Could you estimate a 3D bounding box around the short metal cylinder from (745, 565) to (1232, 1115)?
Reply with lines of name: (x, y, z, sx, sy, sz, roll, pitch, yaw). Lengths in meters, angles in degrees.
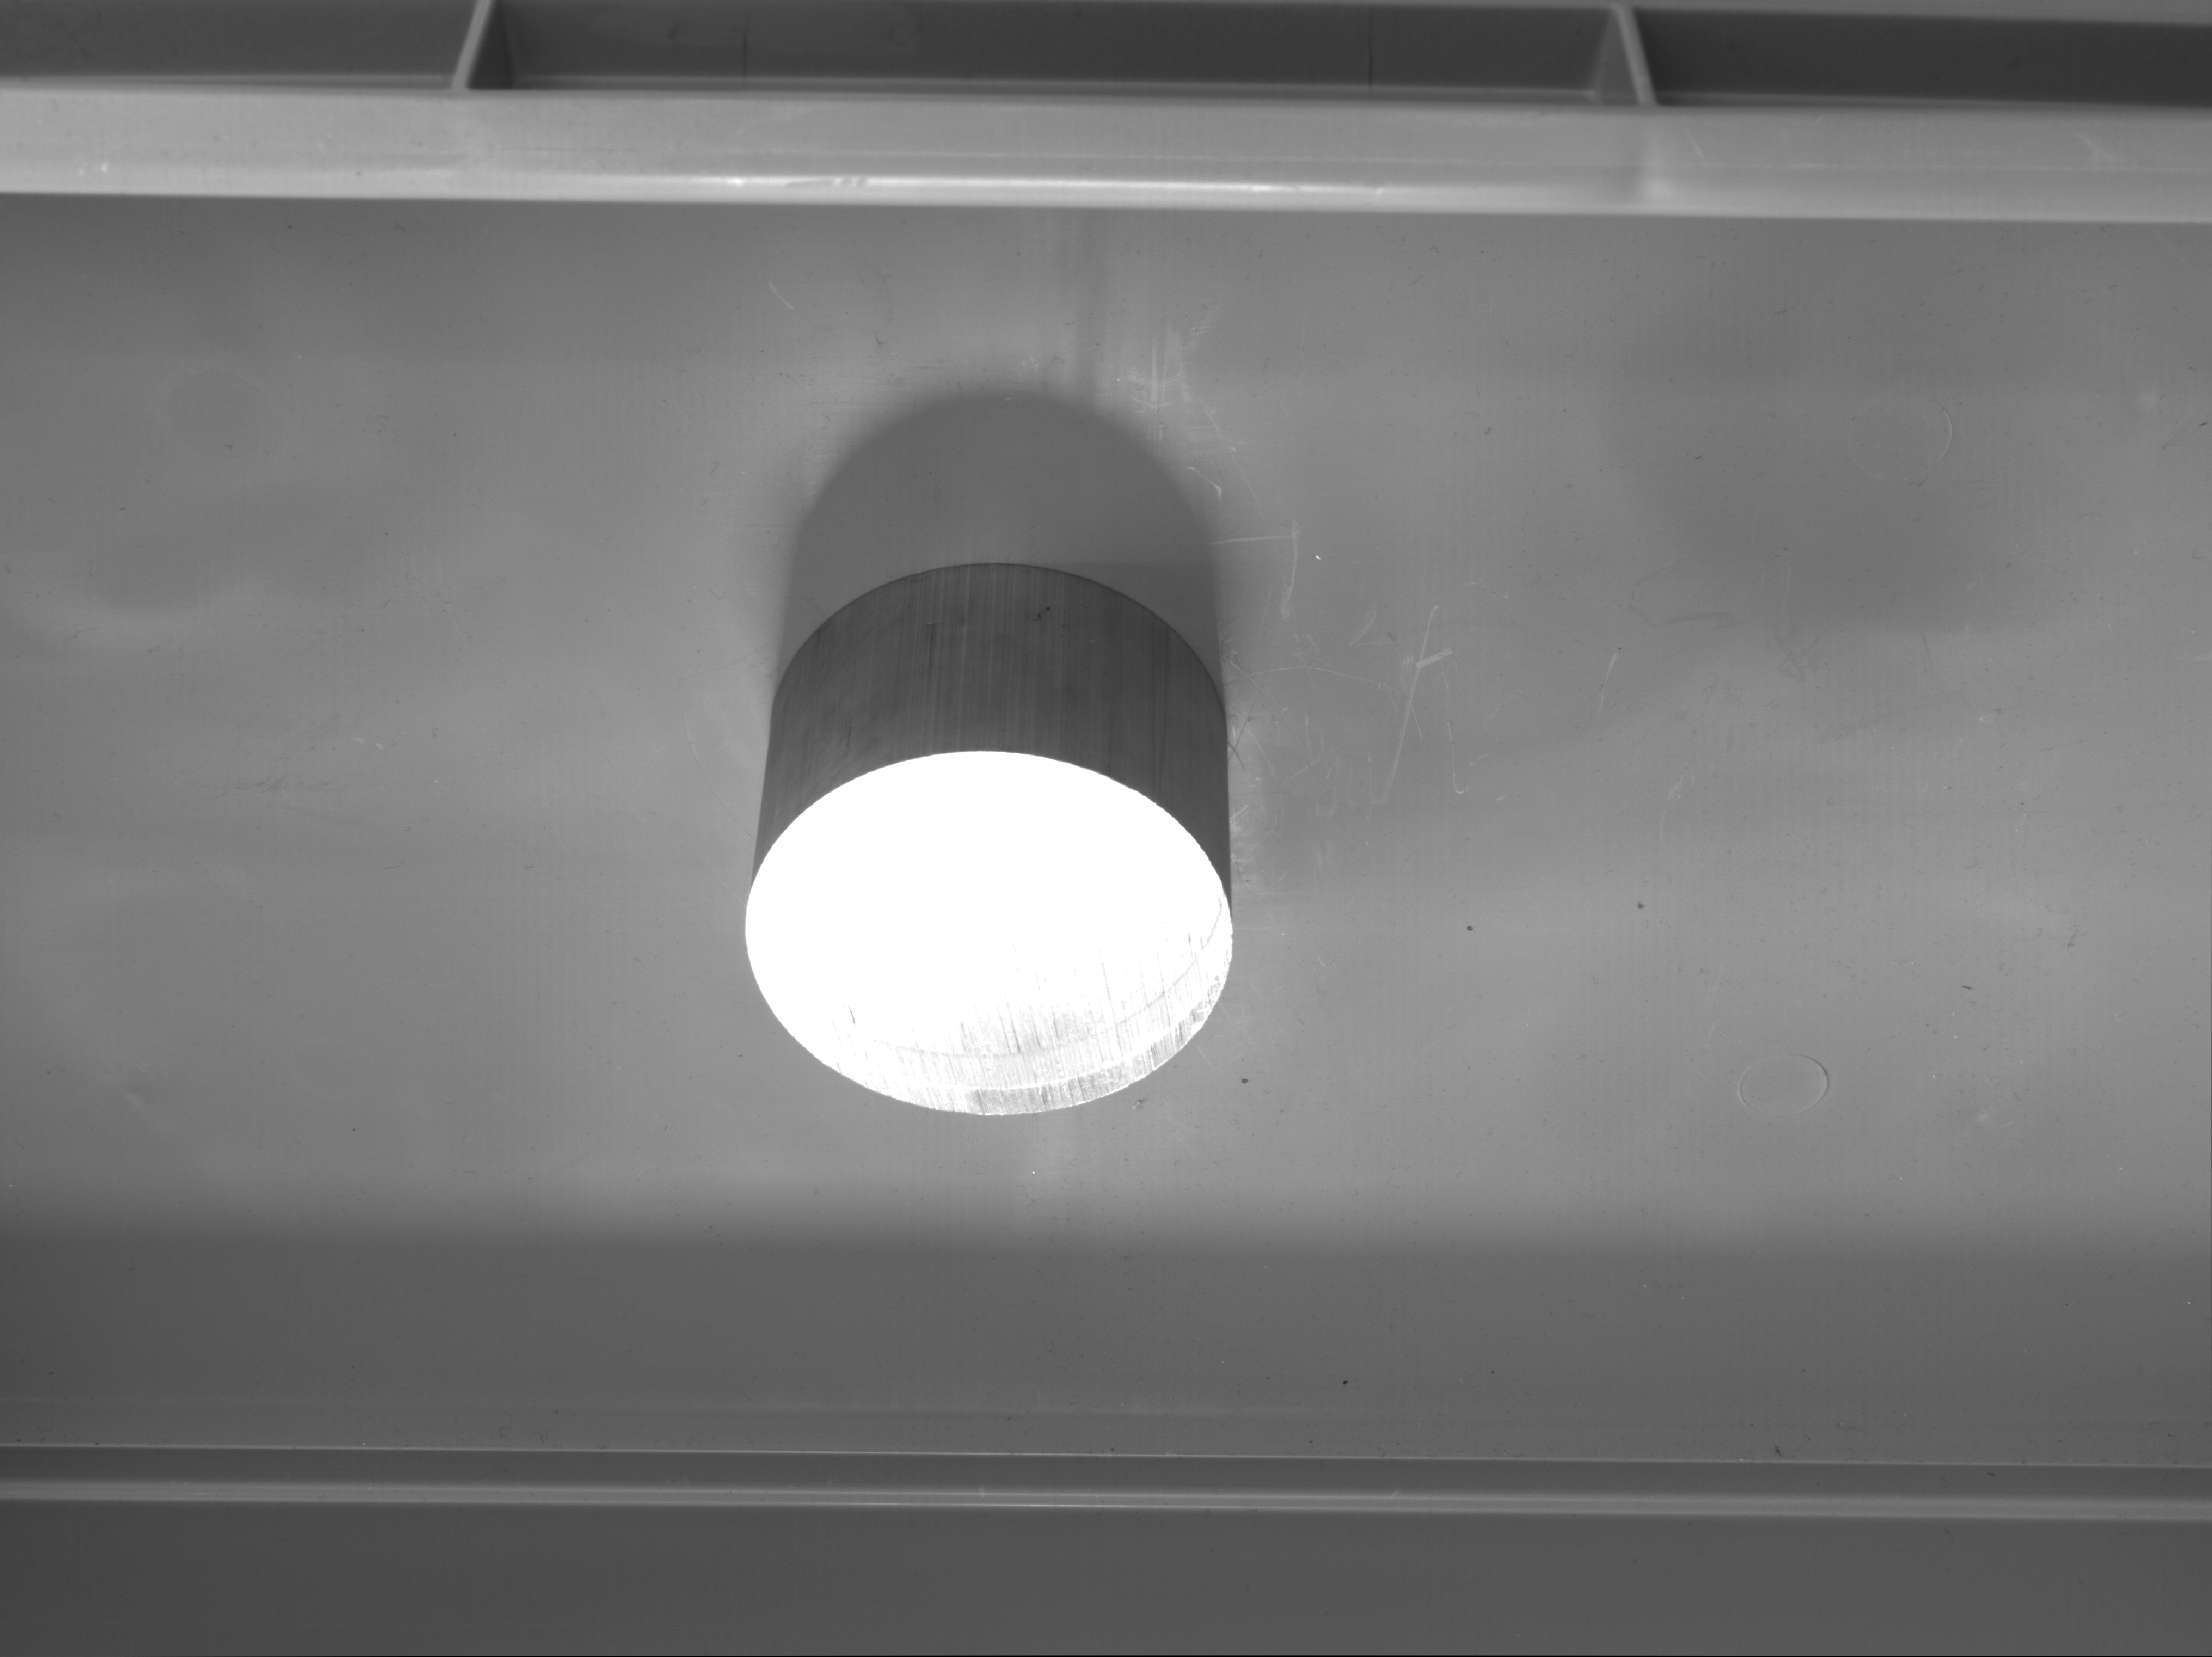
short metal cylinder: (-0.019, 0.002, 0.623, 0.080, 0.050, 0.080, 0, 130, 0)
